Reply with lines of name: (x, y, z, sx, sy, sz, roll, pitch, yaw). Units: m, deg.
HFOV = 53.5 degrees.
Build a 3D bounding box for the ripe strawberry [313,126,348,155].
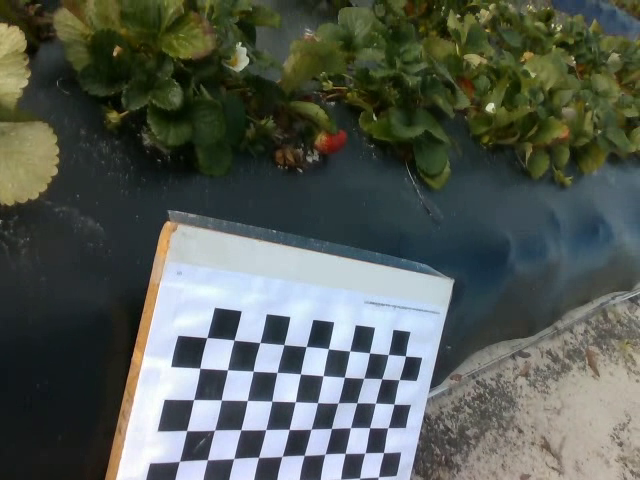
ripe strawberry: (0.006, -0.070, 0.421, 0.027, 0.022, 0.021, -14, 27, -21)
